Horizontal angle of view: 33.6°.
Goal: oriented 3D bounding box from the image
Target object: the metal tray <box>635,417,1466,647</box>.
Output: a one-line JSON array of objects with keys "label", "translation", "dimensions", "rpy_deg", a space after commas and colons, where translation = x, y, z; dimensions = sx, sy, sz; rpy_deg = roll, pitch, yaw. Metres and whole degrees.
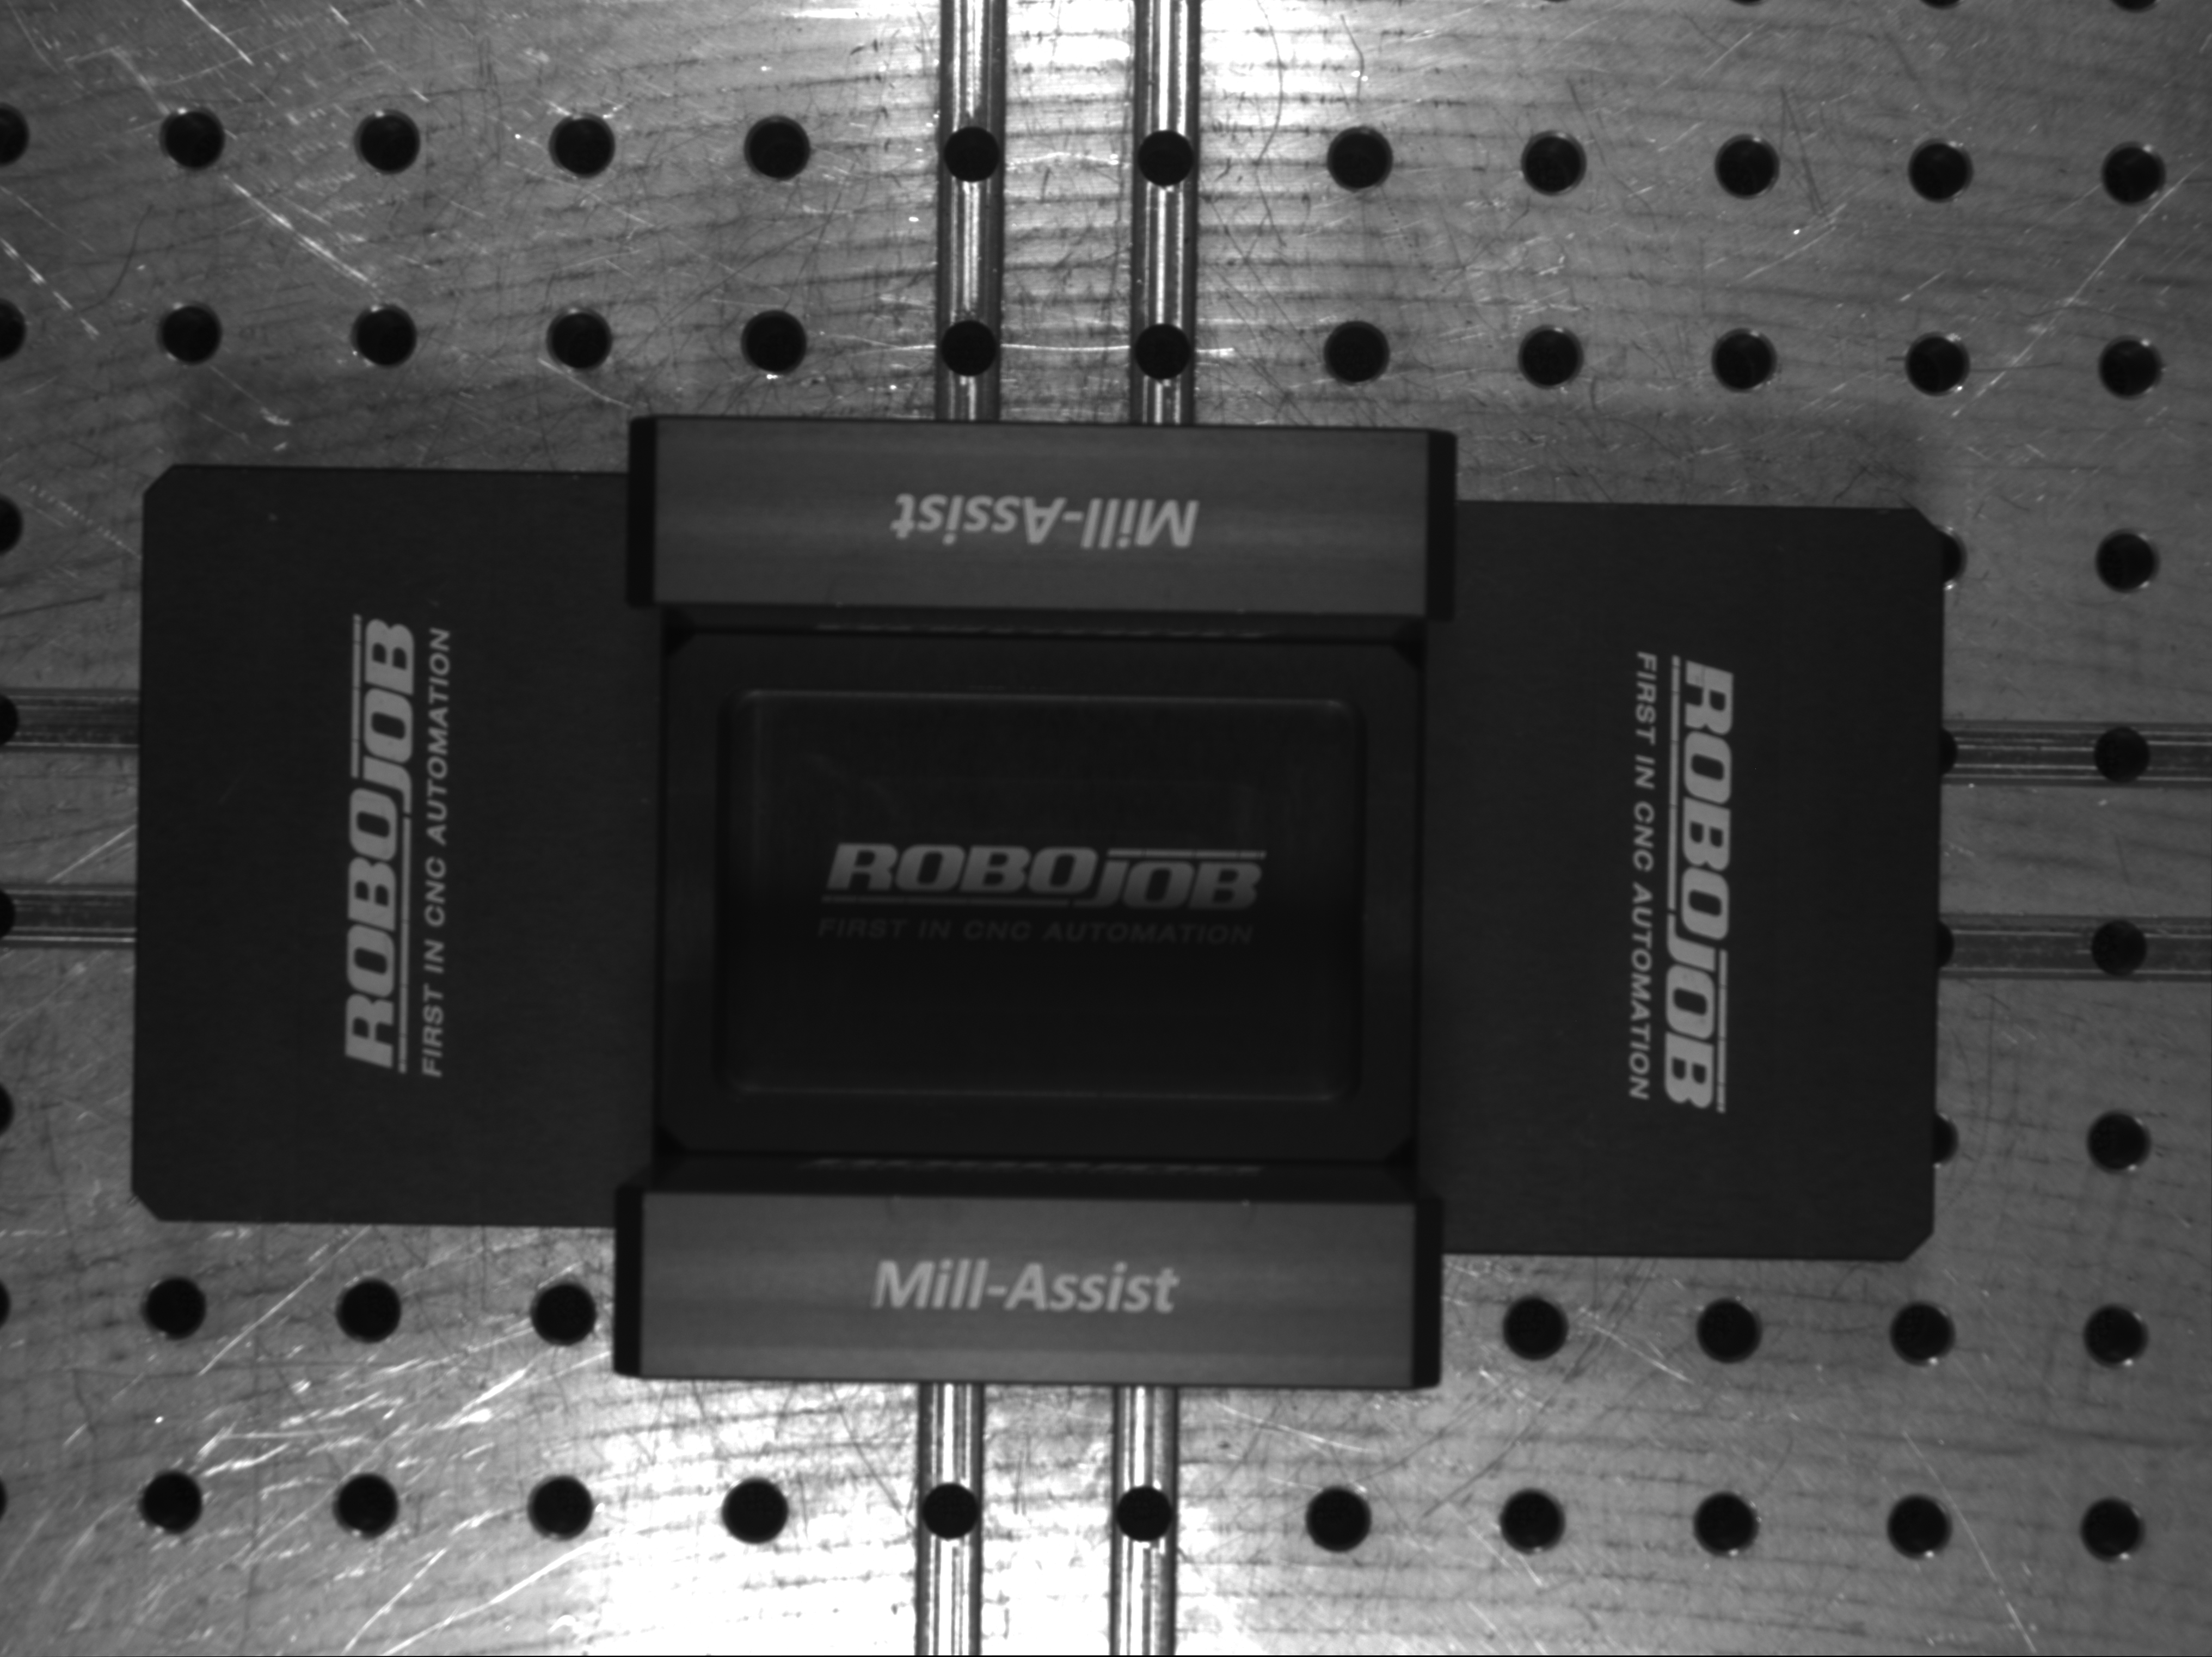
[{"label": "metal tray", "translation": [-0.009, -0.048, 0.615], "dimensions": [0.130, 0.090, 0.030], "rpy_deg": [1, 90, 0]}]

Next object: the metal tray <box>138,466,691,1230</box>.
[{"label": "metal tray", "translation": [-0.120, 0.003, 0.643], "dimensions": [0.090, 0.030, 0.130], "rpy_deg": [1, 90, -1]}]

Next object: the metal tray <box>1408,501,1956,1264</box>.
[{"label": "metal tray", "translation": [0.100, 0.009, 0.644], "dimensions": [0.090, 0.030, 0.130], "rpy_deg": [1, 90, -1]}]

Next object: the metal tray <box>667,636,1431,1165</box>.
[{"label": "metal tray", "translation": [-0.010, 0.012, 0.643], "dimensions": [0.130, 0.030, 0.090], "rpy_deg": [1, 90, -1]}]

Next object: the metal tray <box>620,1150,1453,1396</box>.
[{"label": "metal tray", "translation": [-0.011, 0.073, 0.613], "dimensions": [0.130, 0.090, 0.030], "rpy_deg": [1, 90, 0]}]
